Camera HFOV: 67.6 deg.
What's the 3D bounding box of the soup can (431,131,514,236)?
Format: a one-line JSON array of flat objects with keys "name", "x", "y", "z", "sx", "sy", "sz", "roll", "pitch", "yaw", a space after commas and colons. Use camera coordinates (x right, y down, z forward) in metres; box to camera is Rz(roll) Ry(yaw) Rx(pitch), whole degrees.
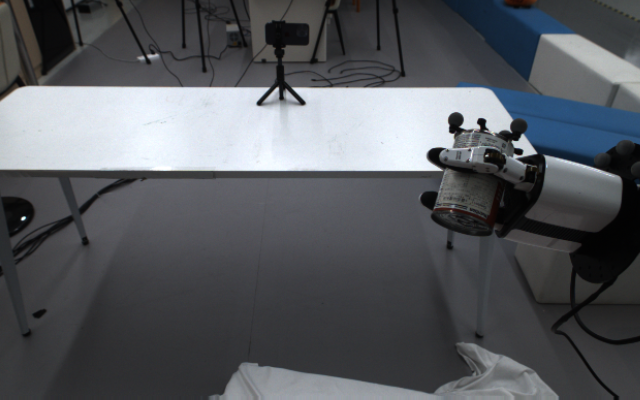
[{"name": "soup can", "x": 0.171, "y": -0.021, "z": 0.542, "sx": 0.067, "sy": 0.067, "sz": 0.101, "roll": 16, "pitch": 75, "yaw": 19}]
